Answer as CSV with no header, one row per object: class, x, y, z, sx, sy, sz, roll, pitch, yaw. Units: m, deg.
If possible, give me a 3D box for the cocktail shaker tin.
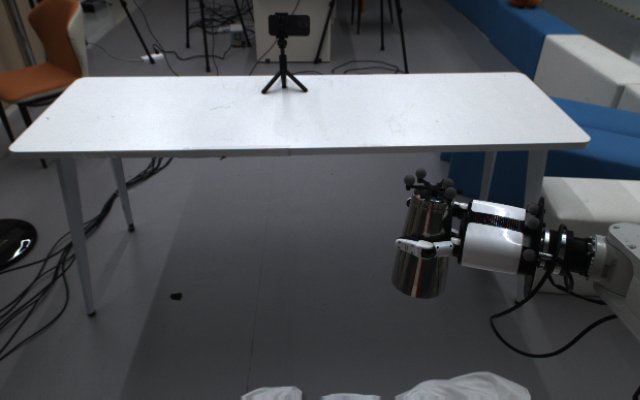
cocktail shaker tin,0.174,0.064,0.800,0.093,0.170,0.093,3,26,-1
